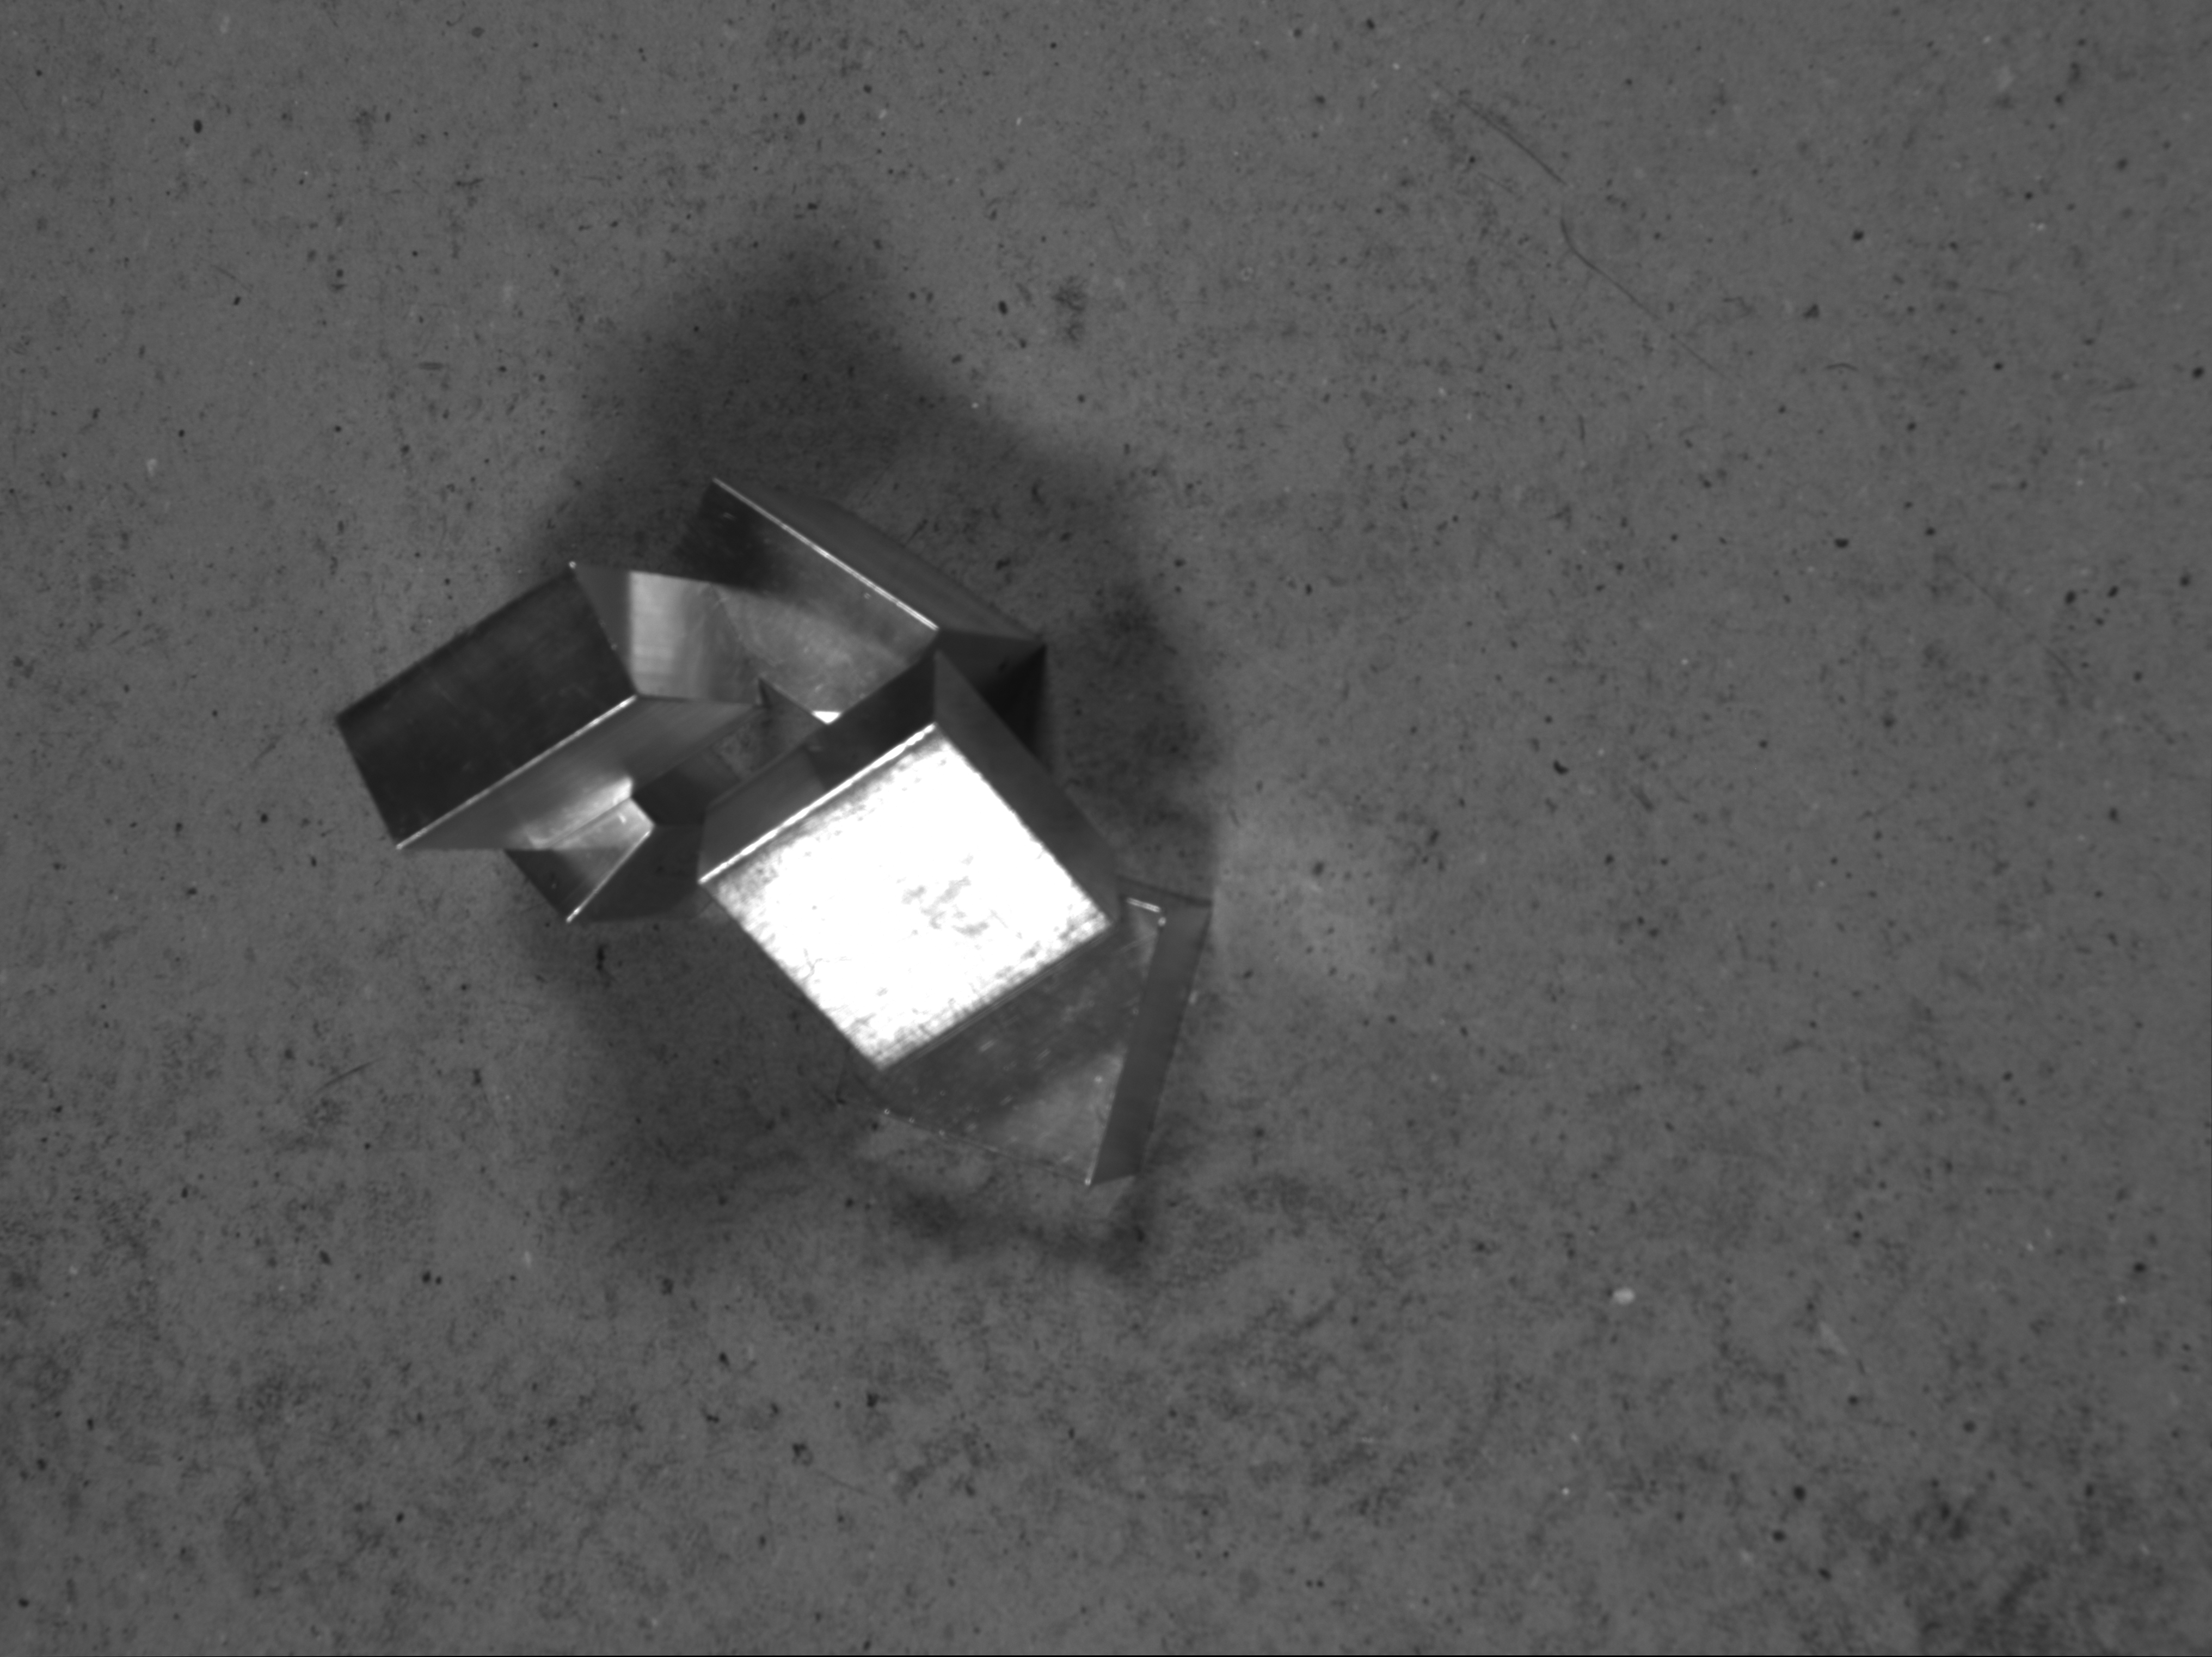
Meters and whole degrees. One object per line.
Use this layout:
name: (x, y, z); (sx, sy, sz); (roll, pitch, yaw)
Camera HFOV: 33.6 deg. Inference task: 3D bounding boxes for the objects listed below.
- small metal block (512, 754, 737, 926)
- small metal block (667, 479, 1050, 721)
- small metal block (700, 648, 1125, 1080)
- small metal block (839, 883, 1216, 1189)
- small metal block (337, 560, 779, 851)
small metal block: (-0.093, -0.010, 0.665); (0.025, 0.050, 0.050); (-46, 76, 14)
small metal block: (-0.045, -0.036, 0.648); (0.050, 0.050, 0.025); (34, 101, 17)
small metal block: (-0.032, 0.006, 0.616); (0.050, 0.025, 0.050); (-33, 117, 17)
small metal block: (-0.014, 0.031, 0.649); (0.050, 0.025, 0.050); (17, 95, 19)
small metal block: (-0.090, -0.019, 0.610); (0.050, 0.050, 0.025); (-31, 80, 17)
